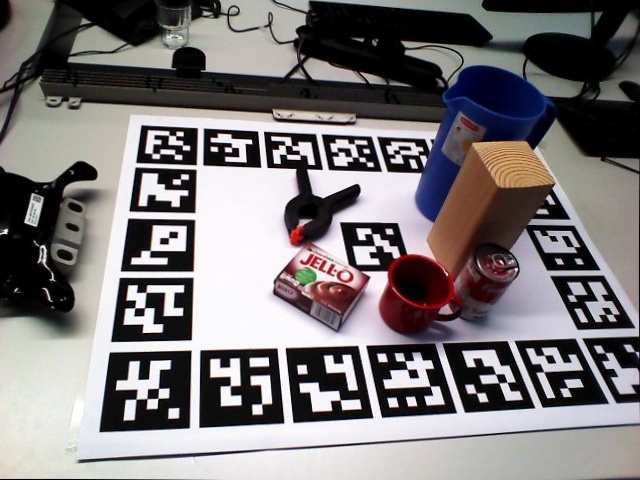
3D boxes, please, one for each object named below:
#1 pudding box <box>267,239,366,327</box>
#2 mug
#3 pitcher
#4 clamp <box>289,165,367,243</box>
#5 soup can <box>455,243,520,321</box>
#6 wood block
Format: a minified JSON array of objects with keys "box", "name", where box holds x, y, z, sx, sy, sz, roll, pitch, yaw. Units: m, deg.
[{"box":[-0.005,0.059,0.738,0.114,0.039,0.089,29,54,16],"name":"pudding box"},{"box":[0.143,0.082,0.713,0.117,0.082,0.092,28,48,15],"name":"mug"},{"box":[0.264,-0.141,0.824,0.189,0.244,0.132,-1,47,-8],"name":"pitcher"},{"box":[-0.001,-0.058,0.849,0.122,0.037,0.164,27,50,4],"name":"clamp"},{"box":[0.234,0.061,0.732,0.068,0.102,0.067,5,51,-6],"name":"soup can"},{"box":[0.250,-0.040,0.754,0.090,0.207,0.090,1,49,-15],"name":"wood block"}]
